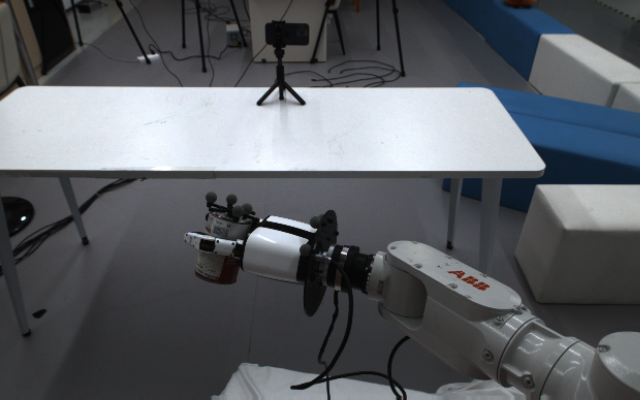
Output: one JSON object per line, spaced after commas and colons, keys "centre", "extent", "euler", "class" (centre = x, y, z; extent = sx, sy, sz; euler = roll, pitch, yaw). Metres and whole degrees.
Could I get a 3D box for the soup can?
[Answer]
{"centre": [-0.149, 0.073, 0.745], "extent": [0.067, 0.101, 0.067], "euler": [16, 7, -2], "class": "soup can"}
